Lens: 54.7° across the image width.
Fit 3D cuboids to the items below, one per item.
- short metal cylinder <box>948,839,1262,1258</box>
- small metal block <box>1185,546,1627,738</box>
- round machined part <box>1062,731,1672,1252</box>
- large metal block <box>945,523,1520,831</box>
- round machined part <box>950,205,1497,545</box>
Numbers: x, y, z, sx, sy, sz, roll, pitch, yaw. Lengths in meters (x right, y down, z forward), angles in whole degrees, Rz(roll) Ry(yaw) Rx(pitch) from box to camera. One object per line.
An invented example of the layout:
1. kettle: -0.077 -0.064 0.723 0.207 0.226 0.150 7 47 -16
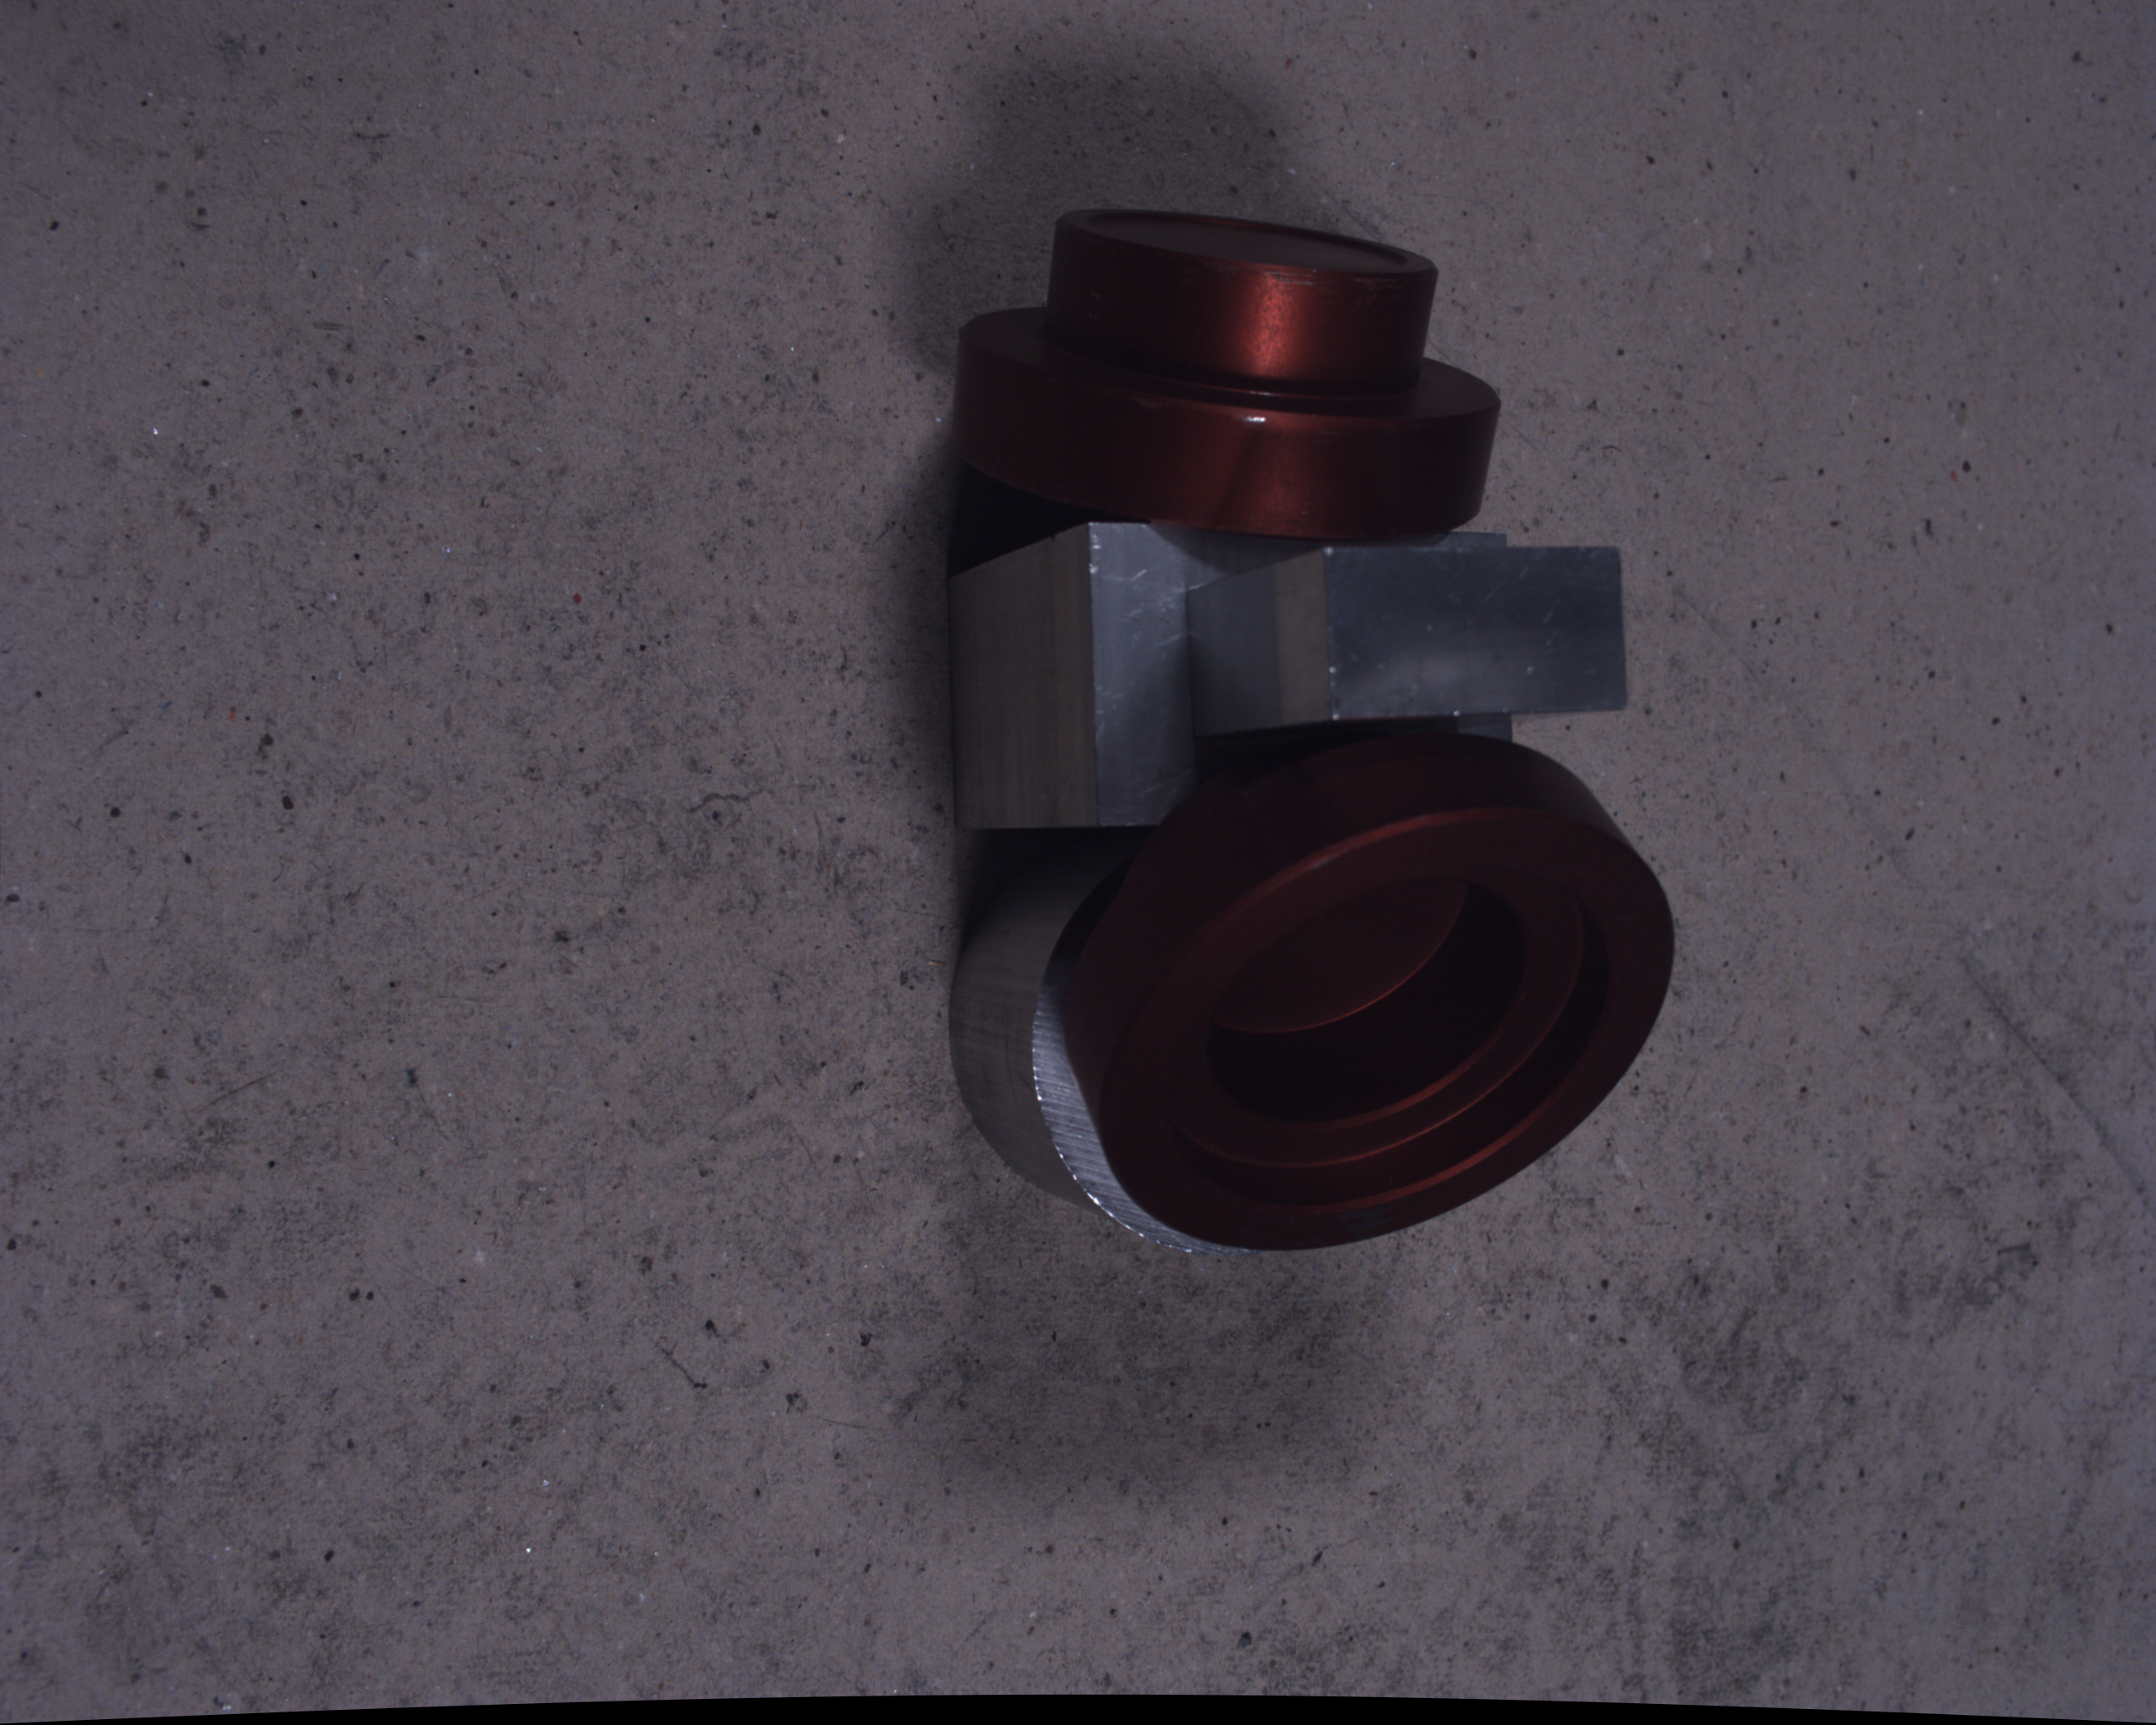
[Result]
1. short metal cylinder: 0.020 0.033 0.407 0.081 0.050 0.079 0 90 -21
2. small metal block: 0.051 -0.034 0.331 0.050 0.050 0.025 -3 91 -20
3. round machined part: 0.044 0.017 0.348 0.099 0.042 0.097 -11 132 -13
4. large metal block: 0.026 -0.032 0.391 0.081 0.080 0.050 -2 91 -20
5. round machined part: 0.027 -0.092 0.378 0.099 0.098 0.042 -2 116 -20
